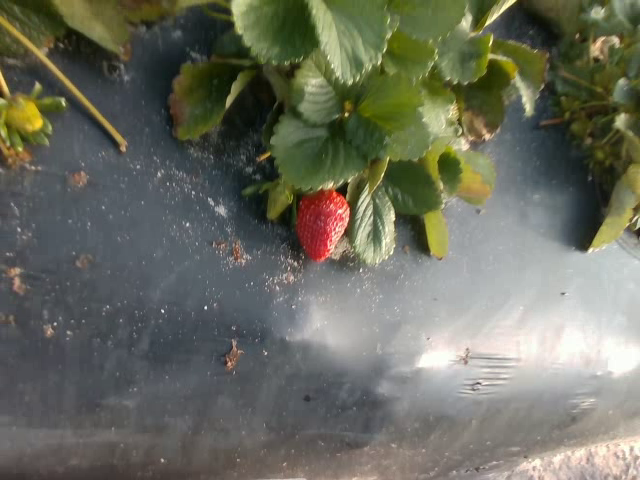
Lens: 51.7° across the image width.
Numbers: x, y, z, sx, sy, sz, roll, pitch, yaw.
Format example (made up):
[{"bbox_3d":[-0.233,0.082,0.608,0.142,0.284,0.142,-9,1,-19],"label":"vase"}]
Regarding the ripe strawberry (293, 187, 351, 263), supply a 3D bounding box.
[{"bbox_3d":[0.001,-0.004,0.275,0.029,0.036,0.021,8,-13,-20],"label":"ripe strawberry"}]
